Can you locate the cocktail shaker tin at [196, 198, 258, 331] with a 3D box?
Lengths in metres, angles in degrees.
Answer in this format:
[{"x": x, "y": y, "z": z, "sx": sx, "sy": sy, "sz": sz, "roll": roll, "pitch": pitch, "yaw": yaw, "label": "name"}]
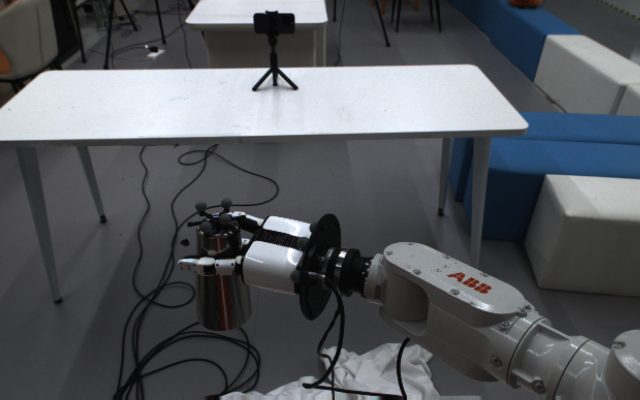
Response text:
[{"x": -0.158, "y": 0.112, "z": 0.785, "sx": 0.093, "sy": 0.170, "sz": 0.093, "roll": 1, "pitch": 27, "yaw": -1, "label": "cocktail shaker tin"}]
